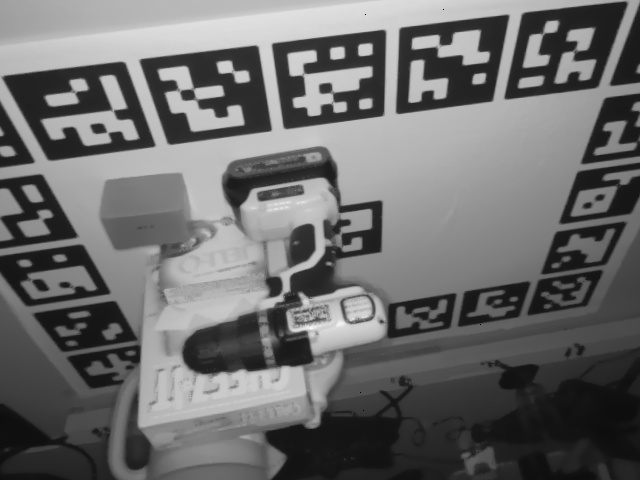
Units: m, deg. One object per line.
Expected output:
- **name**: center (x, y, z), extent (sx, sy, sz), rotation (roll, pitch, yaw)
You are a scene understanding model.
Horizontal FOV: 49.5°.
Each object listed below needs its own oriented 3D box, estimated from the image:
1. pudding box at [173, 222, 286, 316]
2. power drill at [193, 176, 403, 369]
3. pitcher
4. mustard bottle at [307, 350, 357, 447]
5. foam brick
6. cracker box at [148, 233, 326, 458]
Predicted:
- **pudding box**: center (-0.096, 0.029, 0.738), extent (0.114, 0.090, 0.038), rotation (-9, 139, -7)
- **power drill**: center (-0.027, 0.029, 0.651), extent (0.185, 0.188, 0.057), rotation (-8, 141, -3)
- **pitcher**: center (-0.135, 0.180, 0.802), extent (0.190, 0.243, 0.132), rotation (-4, 137, -10)
- **mustard bottle**: center (-0.005, 0.154, 0.822), extent (0.097, 0.192, 0.057), rotation (2, 135, -14)
- **foam brick**: center (-0.160, -0.031, 0.708), extent (0.078, 0.051, 0.052), rotation (-6, 135, -6)
- **cracker box**: center (-0.094, 0.101, 0.736), extent (0.165, 0.214, 0.071), rotation (-10, 139, -5)
